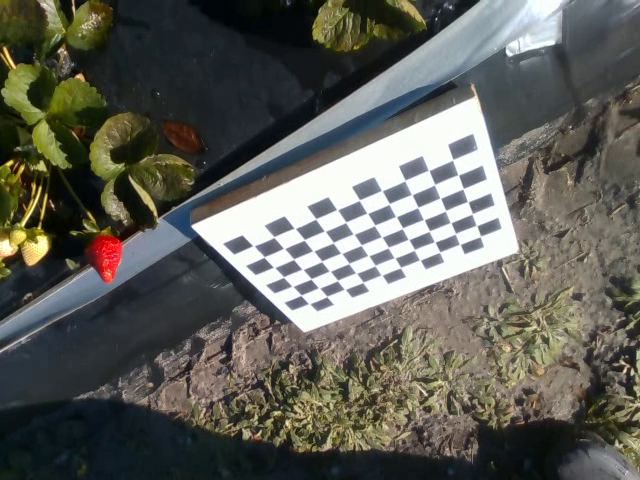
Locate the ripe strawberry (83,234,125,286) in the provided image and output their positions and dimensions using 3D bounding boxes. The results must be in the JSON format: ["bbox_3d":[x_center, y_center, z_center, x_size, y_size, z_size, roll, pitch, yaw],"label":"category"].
[{"bbox_3d":[-0.176,0.017,0.525,0.036,0.046,0.038,-20,-22,16],"label":"ripe strawberry"}]
